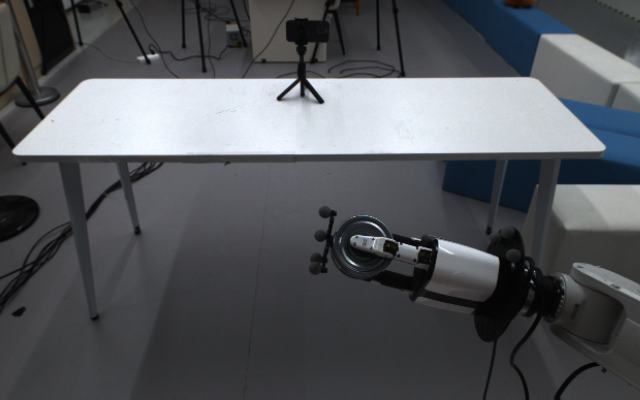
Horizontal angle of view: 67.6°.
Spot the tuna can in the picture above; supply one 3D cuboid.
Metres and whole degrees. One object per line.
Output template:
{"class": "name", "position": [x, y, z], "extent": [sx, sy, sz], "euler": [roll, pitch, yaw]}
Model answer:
{"class": "tuna can", "position": [0.061, 0.067, 0.659], "extent": [0.085, 0.034, 0.085], "euler": [2, 73, -5]}
